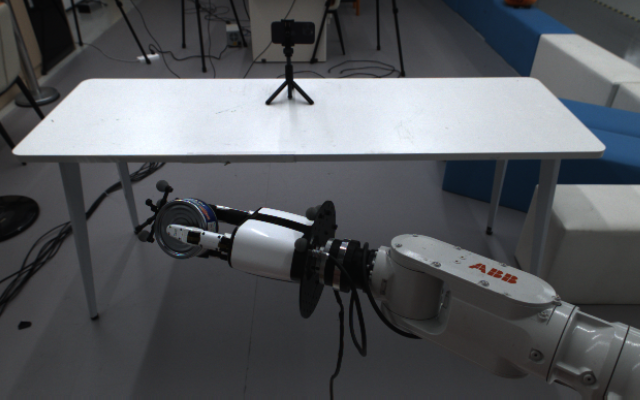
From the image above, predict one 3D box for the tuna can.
[{"bbox_3d":[-0.189,0.040,0.686,0.085,0.085,0.034,12,6,14],"label":"tuna can"}]
